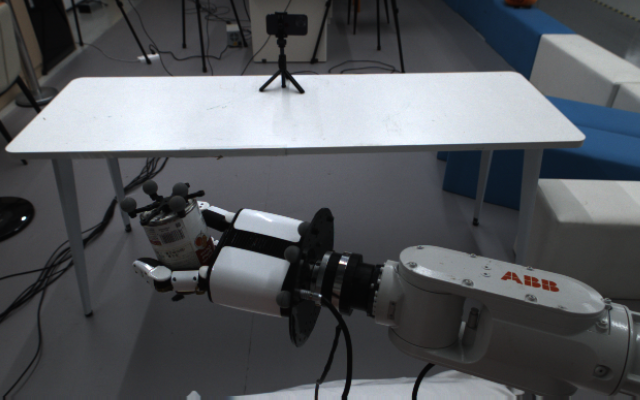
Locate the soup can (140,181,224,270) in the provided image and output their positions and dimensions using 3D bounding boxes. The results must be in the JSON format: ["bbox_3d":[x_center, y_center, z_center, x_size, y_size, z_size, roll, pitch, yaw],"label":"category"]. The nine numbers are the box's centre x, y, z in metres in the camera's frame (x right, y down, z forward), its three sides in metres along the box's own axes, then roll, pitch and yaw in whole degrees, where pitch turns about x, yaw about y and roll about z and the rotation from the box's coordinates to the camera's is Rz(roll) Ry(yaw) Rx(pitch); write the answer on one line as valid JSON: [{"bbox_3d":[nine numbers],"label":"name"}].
[{"bbox_3d":[-0.161,0.053,0.573,0.067,0.101,0.067,-11,27,6],"label":"soup can"}]
